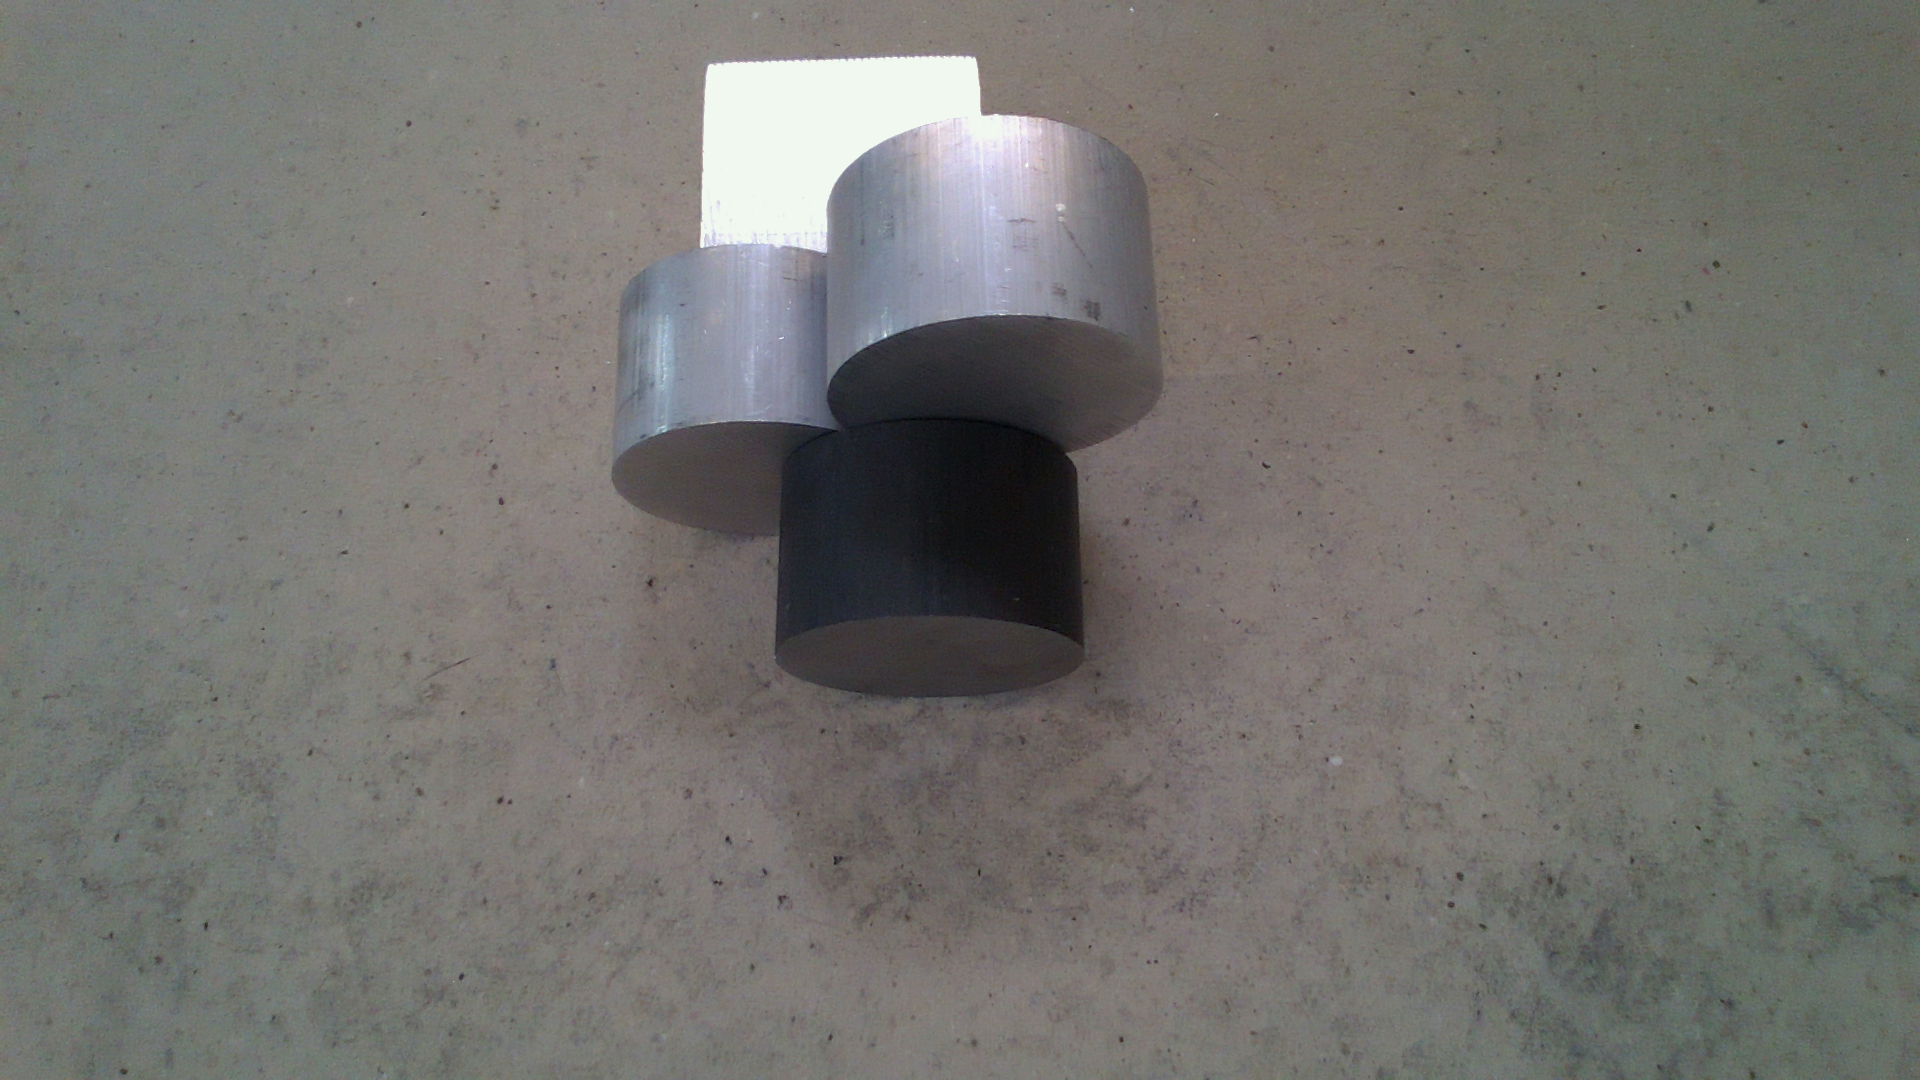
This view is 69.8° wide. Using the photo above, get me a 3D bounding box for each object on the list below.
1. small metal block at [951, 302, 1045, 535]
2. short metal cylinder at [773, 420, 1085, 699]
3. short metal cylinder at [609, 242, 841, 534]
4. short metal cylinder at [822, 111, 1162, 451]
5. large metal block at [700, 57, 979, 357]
[{"bbox_3d":[0.011,-0.034,0.396,0.025,0.050,0.050,1,70,1],"label":"small metal block"},{"bbox_3d":[-0.008,0.008,0.363,0.080,0.080,0.050,0,70,0],"label":"short metal cylinder"},{"bbox_3d":[-0.054,-0.039,0.380,0.080,0.080,0.050,-2,70,-1],"label":"short metal cylinder"},{"bbox_3d":[0.007,-0.058,0.334,0.080,0.080,0.050,-2,70,-1],"label":"short metal cylinder"},{"bbox_3d":[-0.034,-0.096,0.417,0.080,0.050,0.080,-2,70,-1],"label":"large metal block"}]
